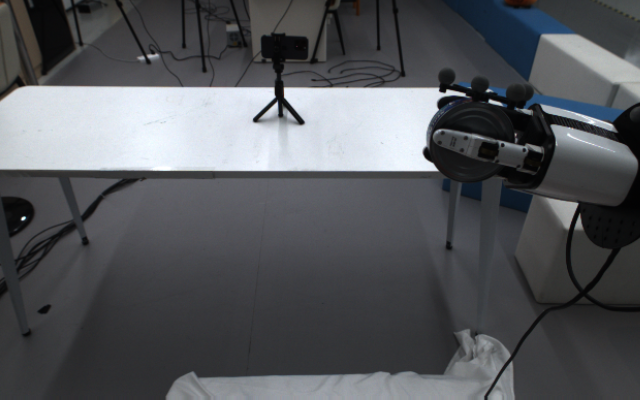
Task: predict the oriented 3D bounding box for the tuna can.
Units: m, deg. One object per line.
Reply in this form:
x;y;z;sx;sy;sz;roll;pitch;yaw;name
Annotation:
0.158;-0.067;0.511;0.085;0.085;0.034;4;19;3;tuna can
